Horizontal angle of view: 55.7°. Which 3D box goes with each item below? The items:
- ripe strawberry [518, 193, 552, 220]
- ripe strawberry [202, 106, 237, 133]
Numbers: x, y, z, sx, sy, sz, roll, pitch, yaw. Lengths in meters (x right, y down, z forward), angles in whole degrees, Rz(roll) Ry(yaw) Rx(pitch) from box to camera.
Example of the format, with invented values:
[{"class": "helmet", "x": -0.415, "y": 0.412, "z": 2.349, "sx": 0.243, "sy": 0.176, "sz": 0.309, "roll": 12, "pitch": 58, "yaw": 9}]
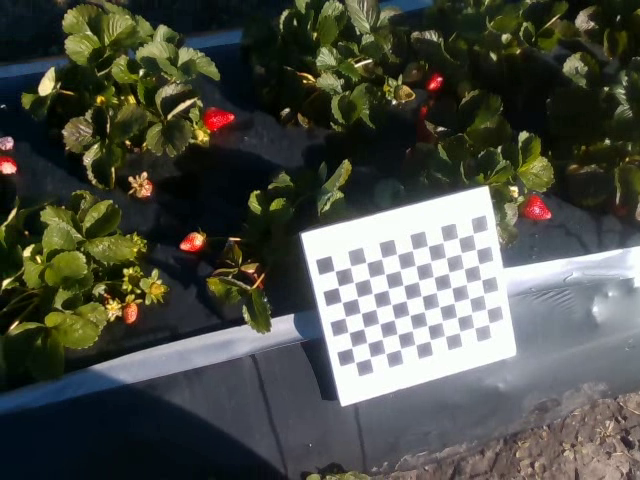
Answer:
[{"class": "ripe strawberry", "x": 0.348, "y": -0.048, "z": 0.972, "sx": 0.054, "sy": 0.048, "sz": 0.029, "roll": 31, "pitch": 2, "yaw": -13}, {"class": "ripe strawberry", "x": -0.174, "y": -0.209, "z": 1.025, "sx": 0.064, "sy": 0.050, "sz": 0.052, "roll": -6, "pitch": 10, "yaw": 0}]
